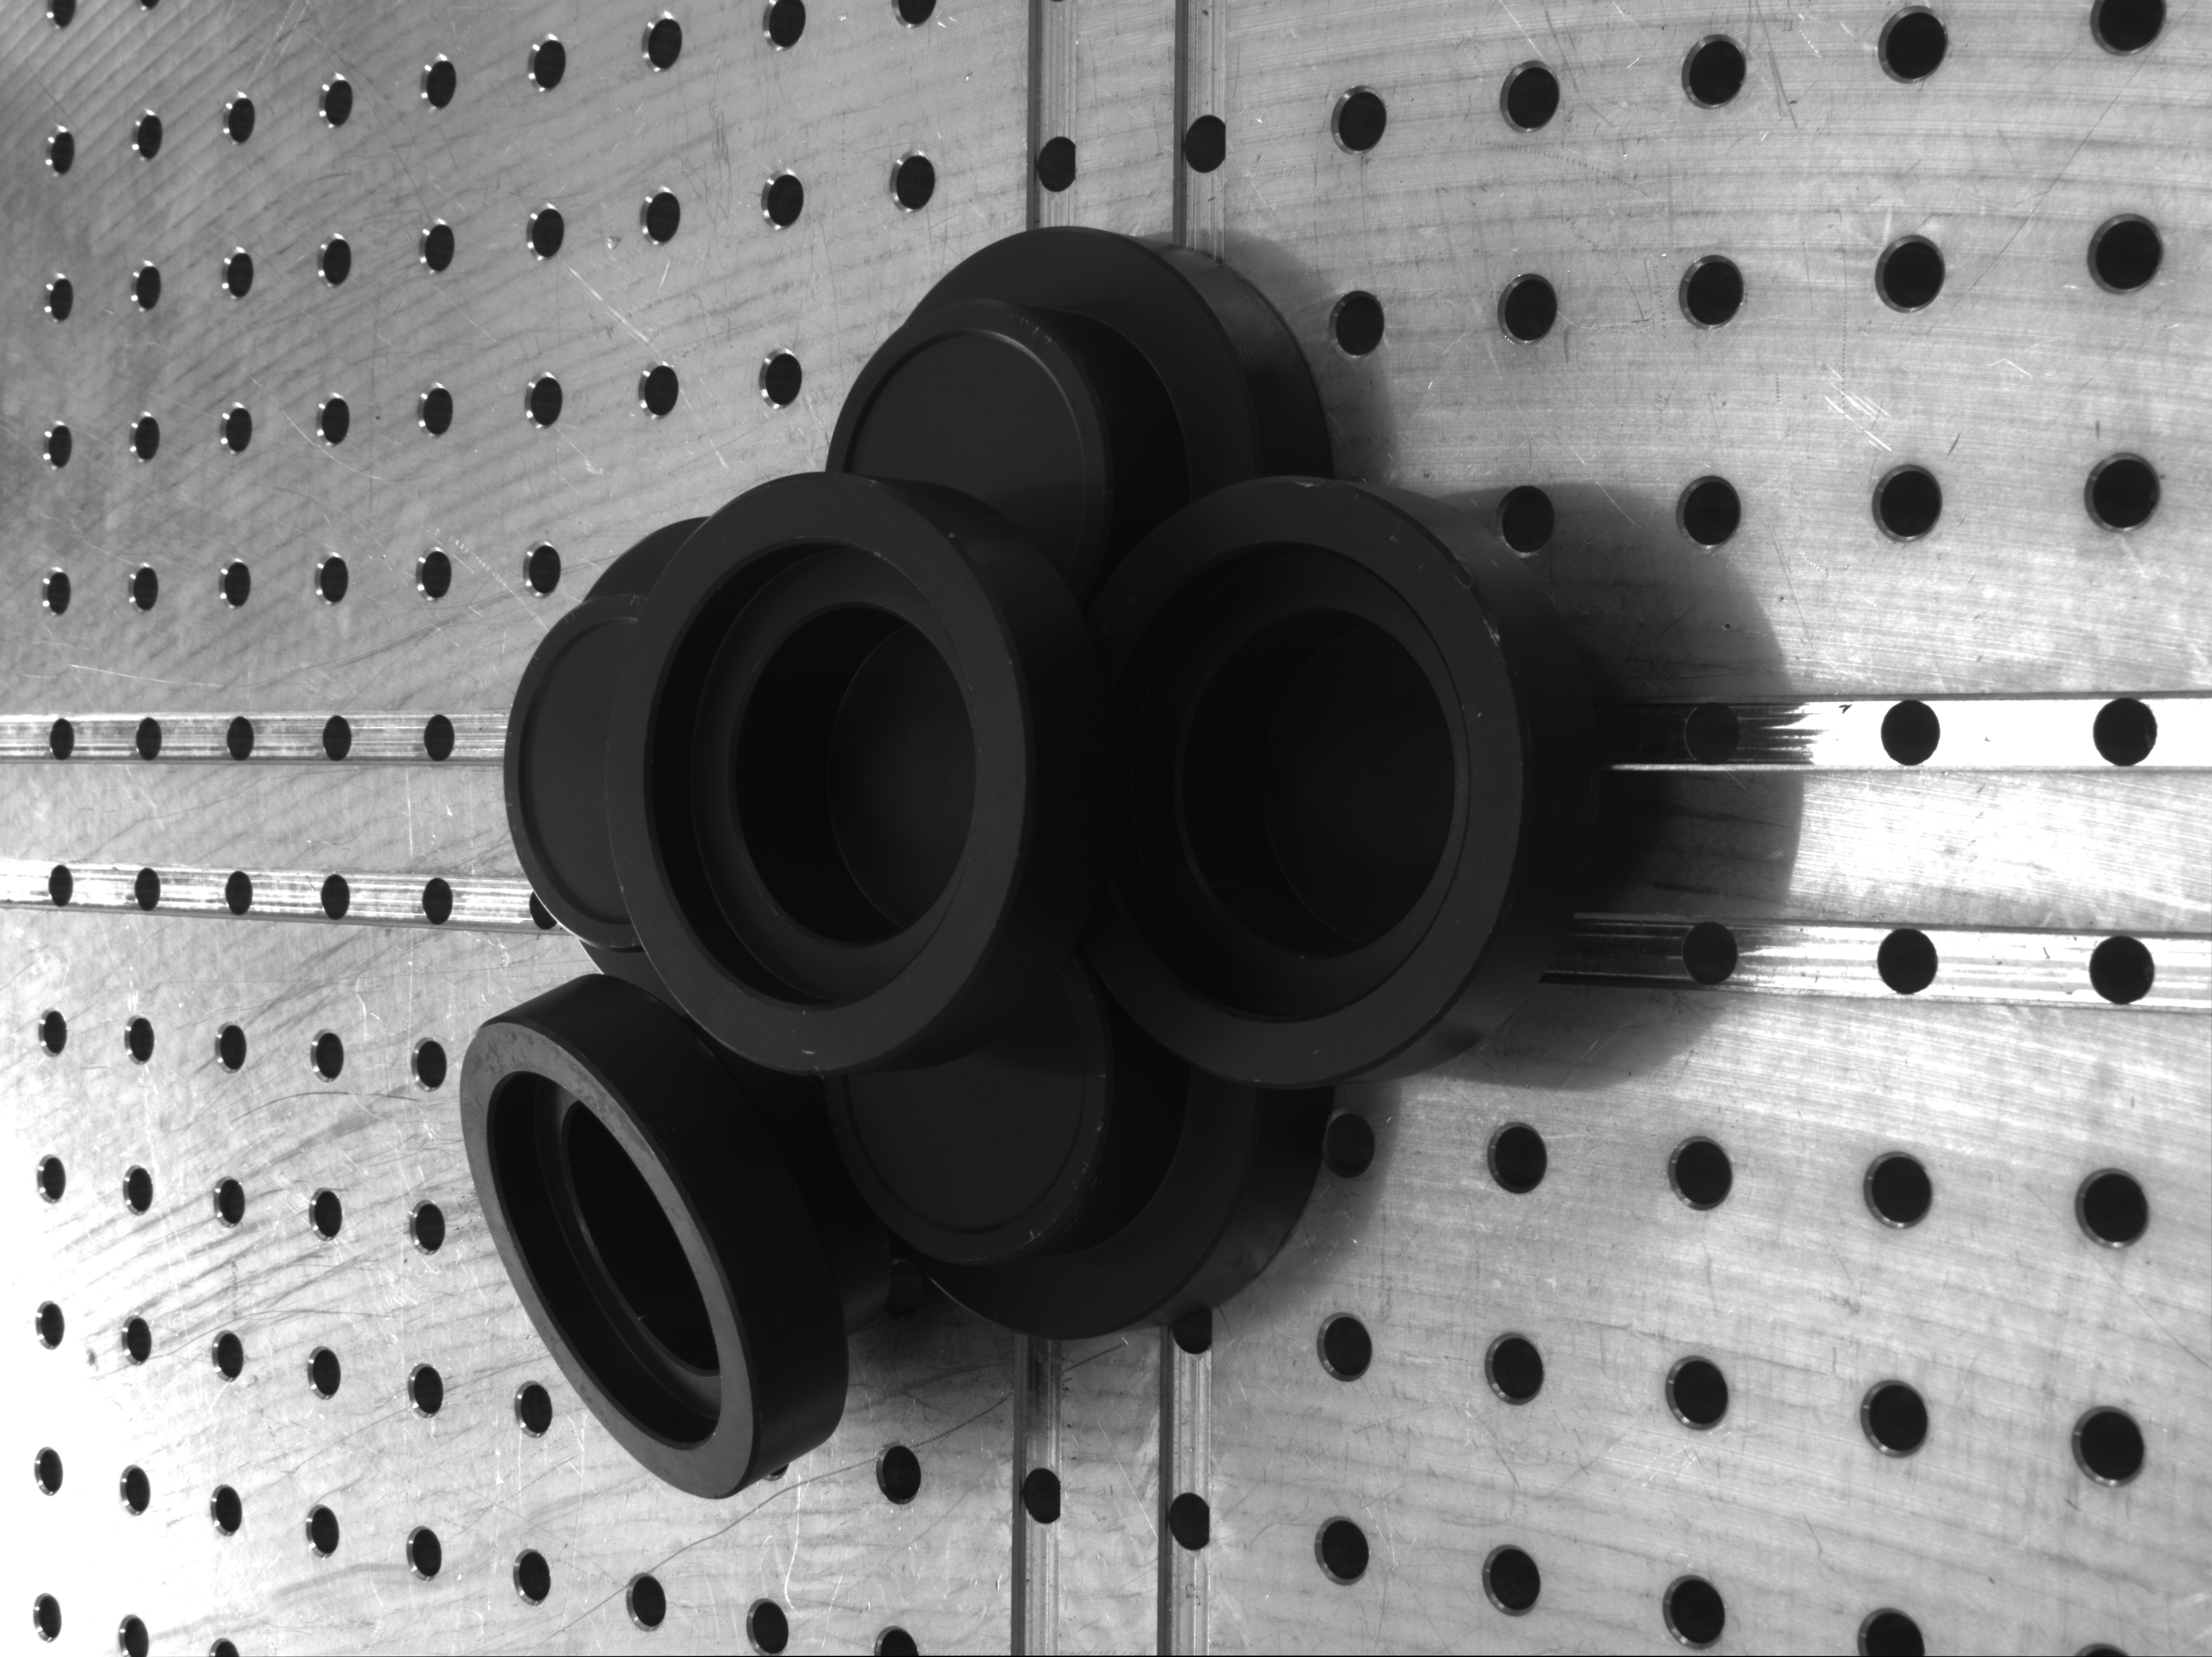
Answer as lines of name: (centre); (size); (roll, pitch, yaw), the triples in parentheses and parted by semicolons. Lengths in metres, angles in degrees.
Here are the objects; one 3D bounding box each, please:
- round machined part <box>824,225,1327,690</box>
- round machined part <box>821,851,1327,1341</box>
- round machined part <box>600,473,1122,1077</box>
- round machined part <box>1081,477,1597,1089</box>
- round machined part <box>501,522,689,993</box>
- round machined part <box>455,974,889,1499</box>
round machined part: (-0.012, -0.057, 0.648); (0.098, 0.042, 0.098); (0, 90, 40)
round machined part: (-0.012, 0.041, 0.647); (0.098, 0.042, 0.098); (0, 90, 40)
round machined part: (-0.036, -0.009, 0.612); (0.098, 0.042, 0.098); (0, 90, 40)
round machined part: (0.040, -0.007, 0.604); (0.098, 0.042, 0.098); (0, 90, 40)
round machined part: (-0.078, -0.011, 0.703); (0.098, 0.042, 0.098); (0, 90, 40)
round machined part: (-0.077, 0.072, 0.686); (0.098, 0.042, 0.098); (34, 137, 39)
